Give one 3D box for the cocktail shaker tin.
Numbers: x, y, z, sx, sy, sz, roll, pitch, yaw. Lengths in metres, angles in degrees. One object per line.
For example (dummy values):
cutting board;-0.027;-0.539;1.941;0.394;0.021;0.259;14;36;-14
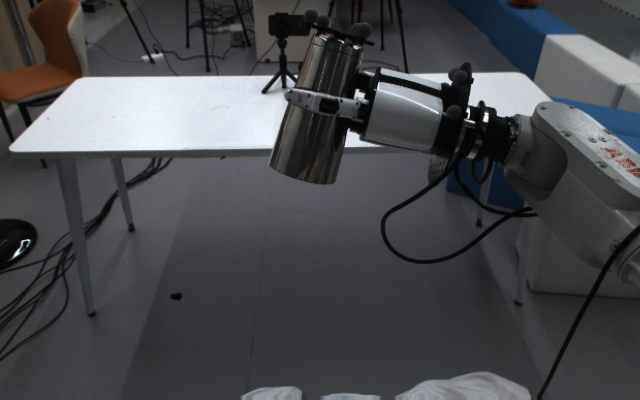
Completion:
cocktail shaker tin;0.000;-0.116;0.614;0.093;0.170;0.093;15;17;-5
